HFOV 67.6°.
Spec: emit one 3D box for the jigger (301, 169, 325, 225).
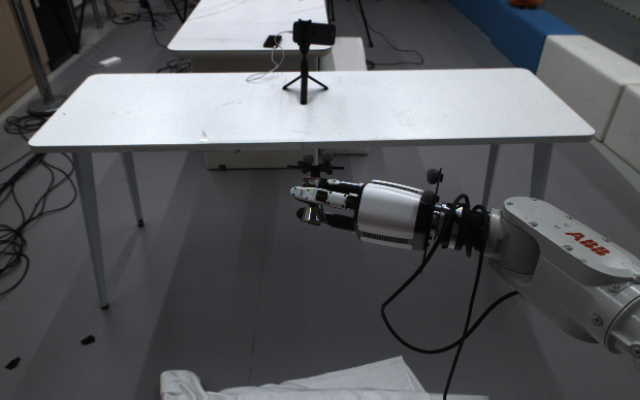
[{"bbox_3d":[-0.010,-0.001,0.750,0.043,0.071,0.043,2,-6,0],"label":"jigger"}]
